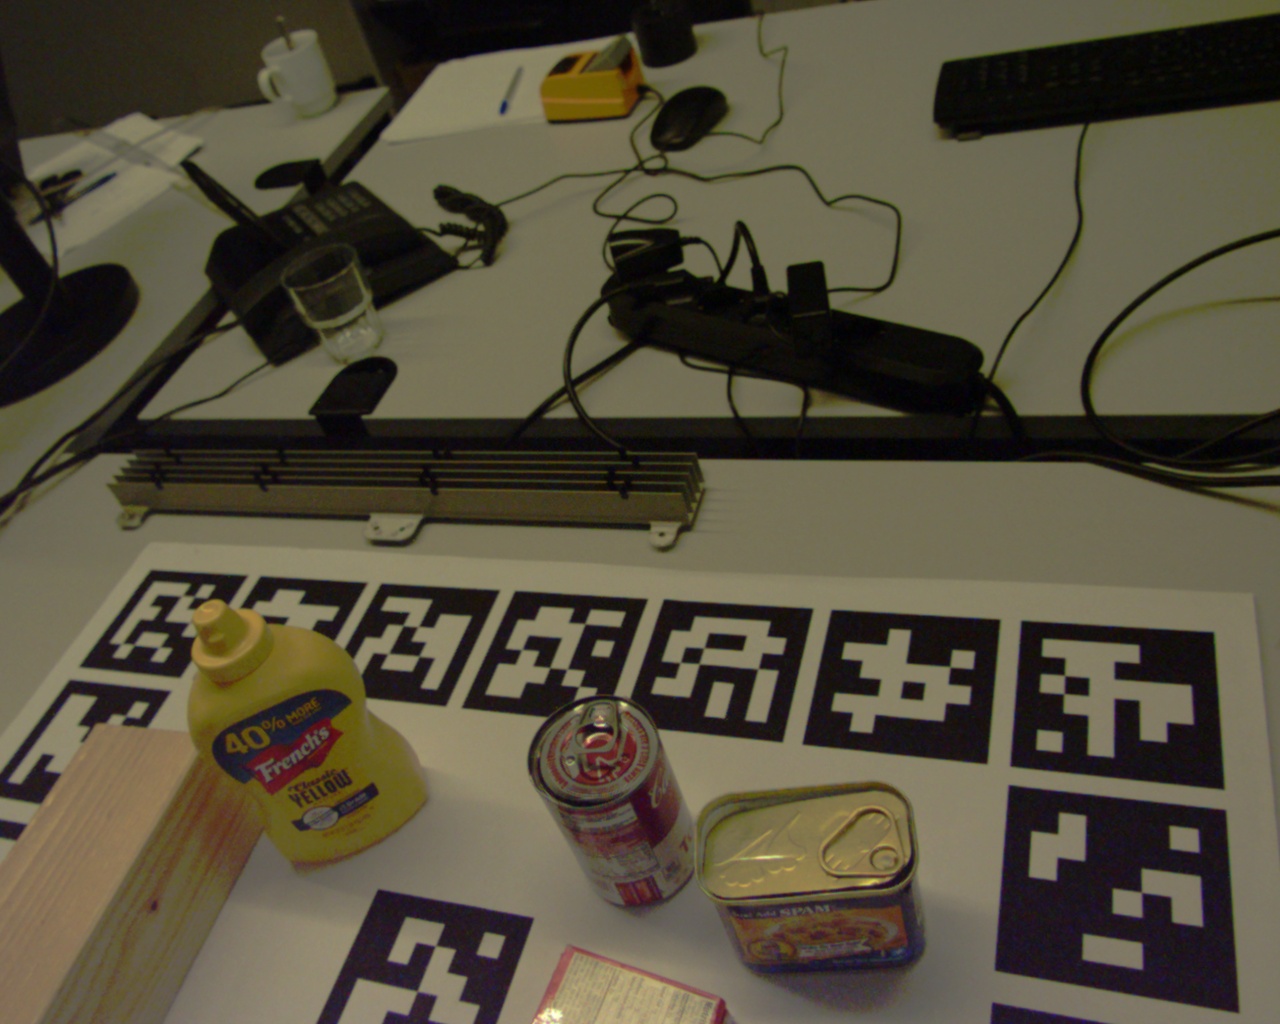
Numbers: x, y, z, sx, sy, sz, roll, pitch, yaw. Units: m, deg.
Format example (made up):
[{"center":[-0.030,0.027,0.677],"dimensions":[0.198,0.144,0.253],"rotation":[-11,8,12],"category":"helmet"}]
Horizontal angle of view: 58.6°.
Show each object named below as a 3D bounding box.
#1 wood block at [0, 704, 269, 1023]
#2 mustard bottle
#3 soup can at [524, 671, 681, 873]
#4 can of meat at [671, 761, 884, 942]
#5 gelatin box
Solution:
[{"center":[-0.315,0.226,0.678],"dimensions":[0.092,0.089,0.205],"rotation":[4,43,22],"category":"wood block"},{"center":[-0.206,0.121,0.677],"dimensions":[0.096,0.190,0.059],"rotation":[-15,41,3],"category":"mustard bottle"},{"center":[-0.015,0.145,0.625],"dimensions":[0.068,0.101,0.068],"rotation":[-12,44,10],"category":"soup can"},{"center":[0.073,0.177,0.585],"dimensions":[0.102,0.083,0.058],"rotation":[-7,44,11],"category":"can of meat"},{"center":[-0.019,0.257,0.569],"dimensions":[0.090,0.030,0.073],"rotation":[9,51,31],"category":"gelatin box"}]
